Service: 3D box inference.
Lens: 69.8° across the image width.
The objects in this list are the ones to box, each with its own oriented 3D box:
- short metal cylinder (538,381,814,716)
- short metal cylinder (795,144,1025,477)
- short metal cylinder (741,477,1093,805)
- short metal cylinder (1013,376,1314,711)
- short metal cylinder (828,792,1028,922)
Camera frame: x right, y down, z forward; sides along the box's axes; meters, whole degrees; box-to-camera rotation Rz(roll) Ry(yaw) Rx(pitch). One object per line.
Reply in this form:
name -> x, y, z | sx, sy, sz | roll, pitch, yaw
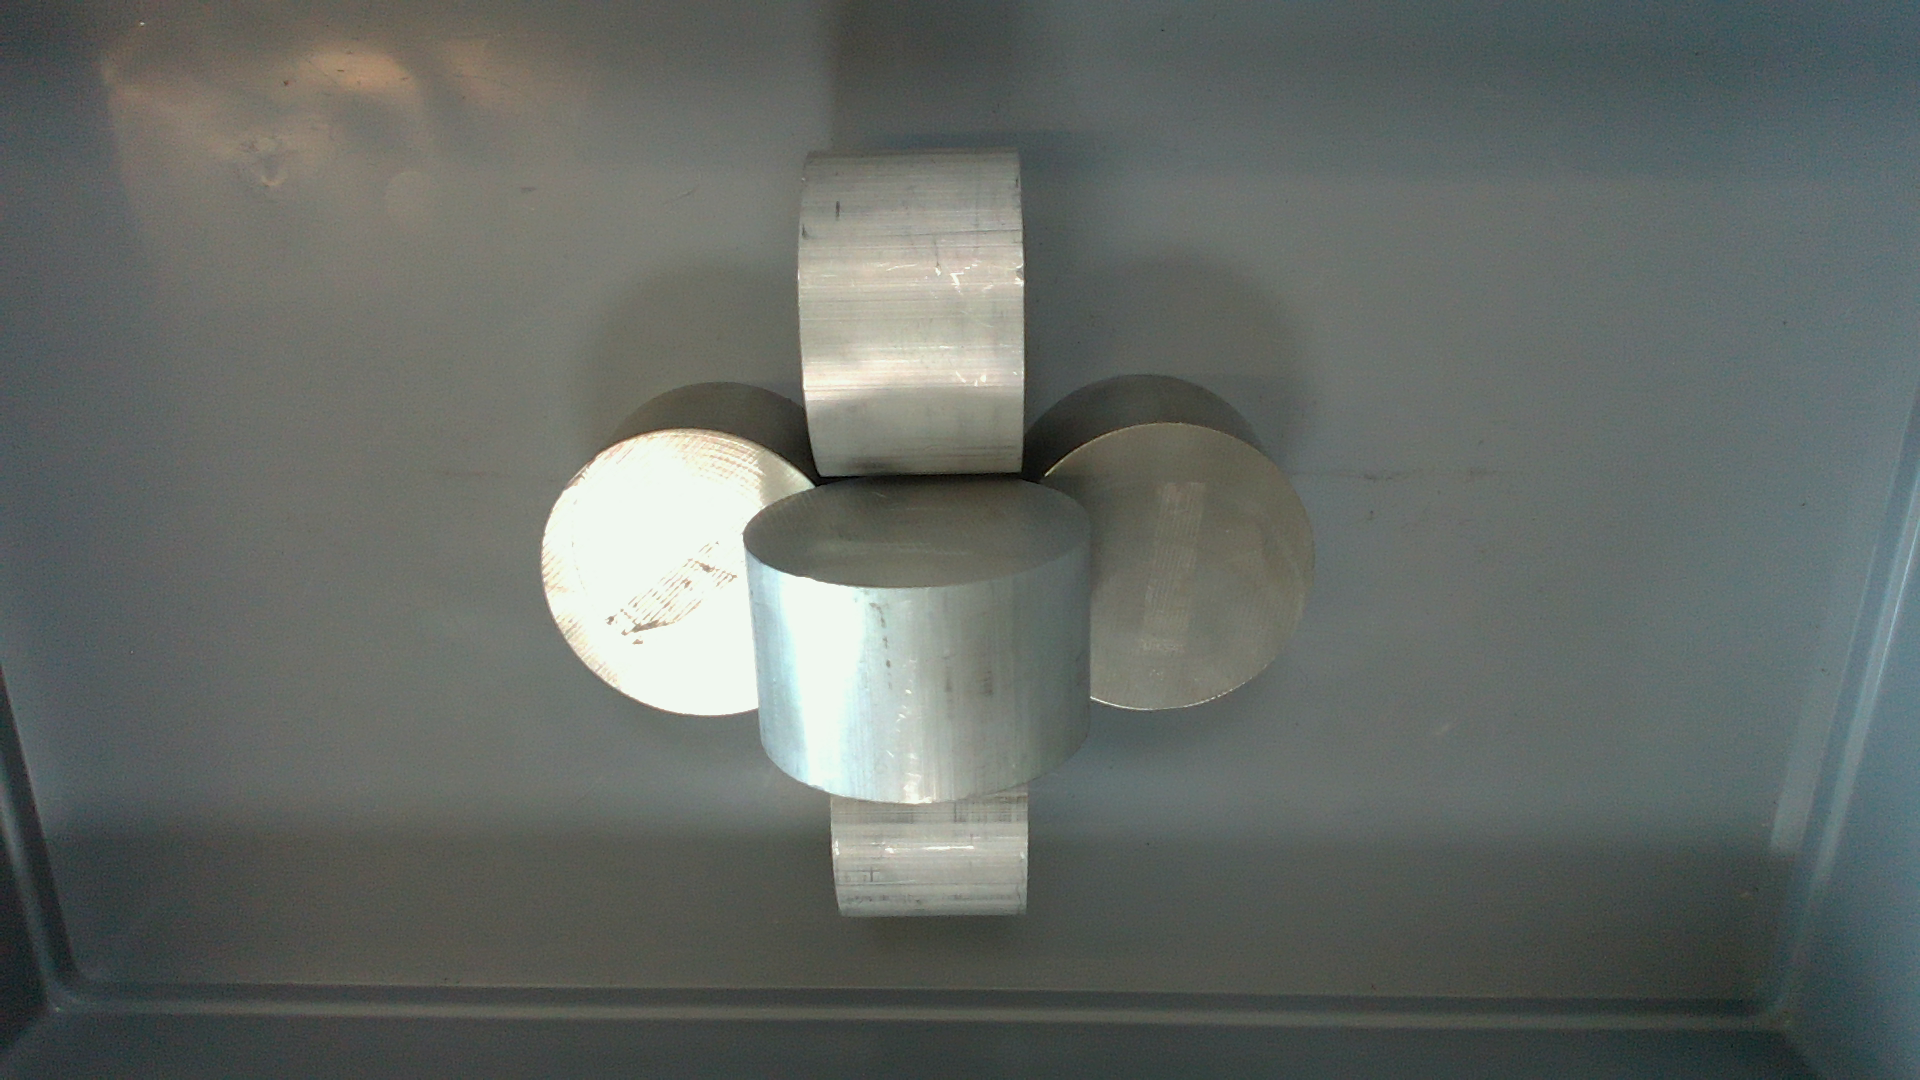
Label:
short metal cylinder -> -0.069, 0.001, 0.379 | 0.080, 0.050, 0.080 | 0, 110, 0
short metal cylinder -> -0.011, -0.056, 0.342 | 0.050, 0.080, 0.080 | -2, 110, 0
short metal cylinder -> -0.009, 0.019, 0.323 | 0.080, 0.080, 0.050 | -1, 110, 0
short metal cylinder -> 0.052, 0.000, 0.379 | 0.080, 0.050, 0.080 | 0, 110, 0
short metal cylinder -> -0.008, 0.065, 0.387 | 0.050, 0.080, 0.080 | -2, 110, 0
